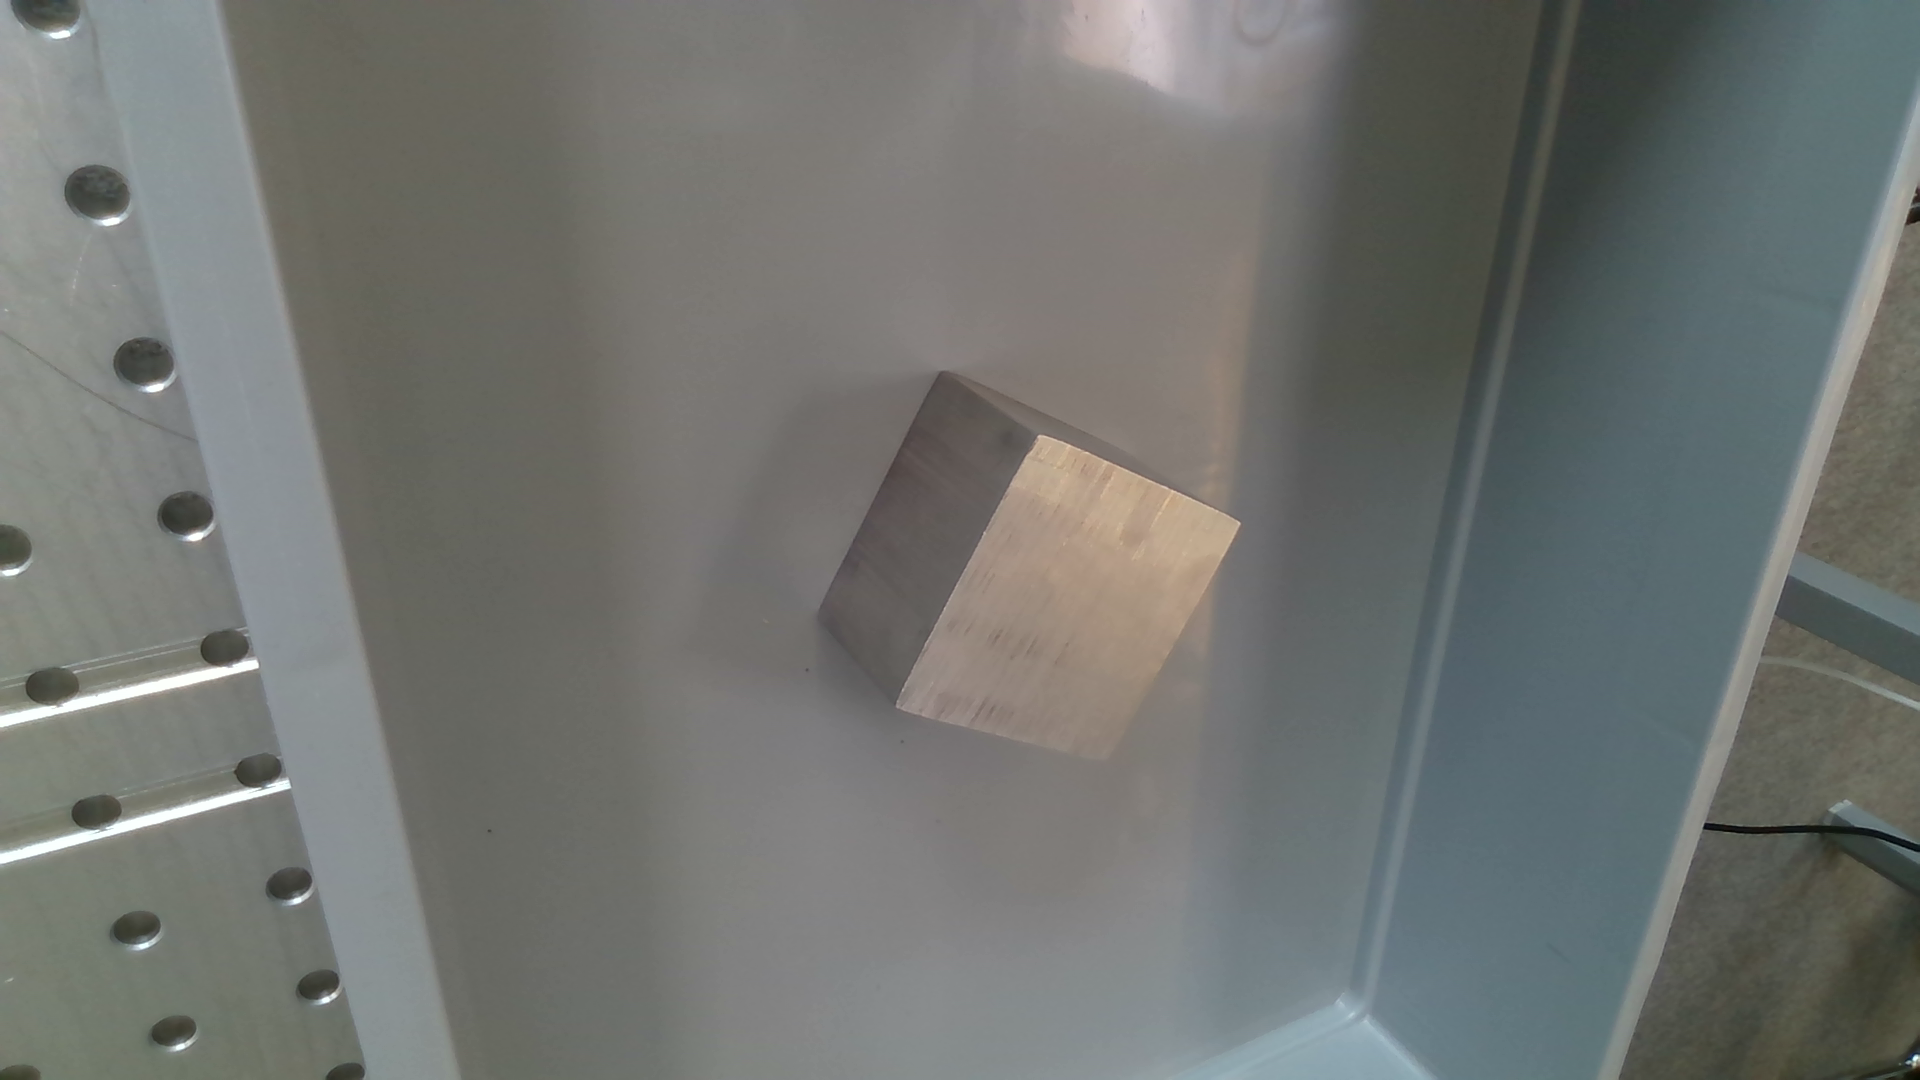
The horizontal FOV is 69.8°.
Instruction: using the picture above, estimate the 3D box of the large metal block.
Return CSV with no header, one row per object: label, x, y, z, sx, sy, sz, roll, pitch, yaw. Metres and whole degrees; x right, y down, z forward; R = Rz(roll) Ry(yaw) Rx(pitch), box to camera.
large metal block,0.019,0.008,0.385,0.080,0.050,0.080,19,104,-38
